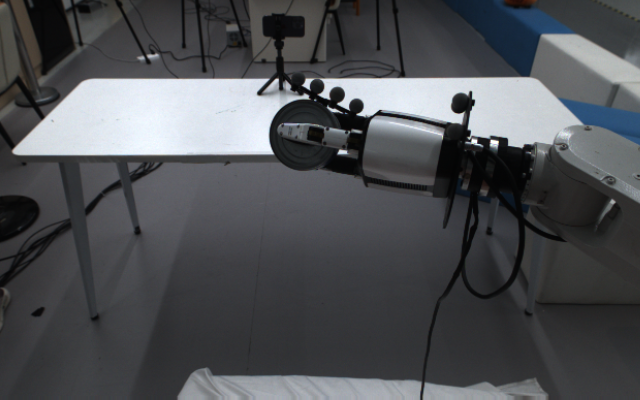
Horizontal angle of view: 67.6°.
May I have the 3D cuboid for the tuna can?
[{"bbox_3d":[-0.016,-0.079,0.597,0.085,0.085,0.034,10,5,11],"label":"tuna can"}]
